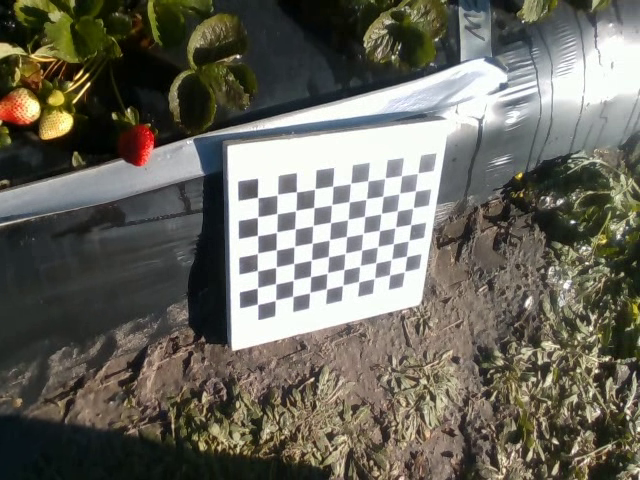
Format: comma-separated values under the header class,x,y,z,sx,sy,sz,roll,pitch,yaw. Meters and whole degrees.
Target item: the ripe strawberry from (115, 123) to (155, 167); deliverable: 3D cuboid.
class,x,y,z,sx,sy,sz,roll,pitch,yaw
ripe strawberry,-0.148,-0.072,0.558,0.036,0.038,0.046,-10,46,-21
